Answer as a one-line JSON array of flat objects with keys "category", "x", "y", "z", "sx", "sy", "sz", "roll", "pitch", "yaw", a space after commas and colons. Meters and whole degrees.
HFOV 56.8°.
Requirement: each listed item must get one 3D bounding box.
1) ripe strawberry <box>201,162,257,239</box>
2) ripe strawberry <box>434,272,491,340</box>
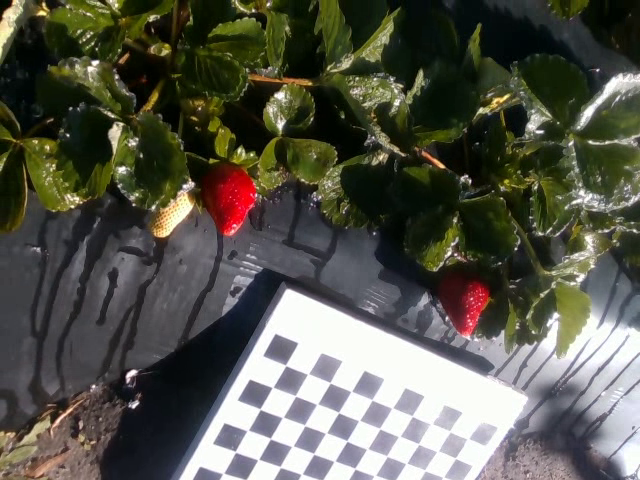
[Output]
[{"category": "ripe strawberry", "x": -0.071, "y": -0.025, "z": 0.452, "sx": 0.042, "sy": 0.061, "sz": 0.046, "roll": 11, "pitch": -26, "yaw": -17}, {"category": "ripe strawberry", "x": 0.129, "y": 0.060, "z": 0.522, "sx": 0.048, "sy": 0.061, "sz": 0.044, "roll": 19, "pitch": -19, "yaw": -19}]
